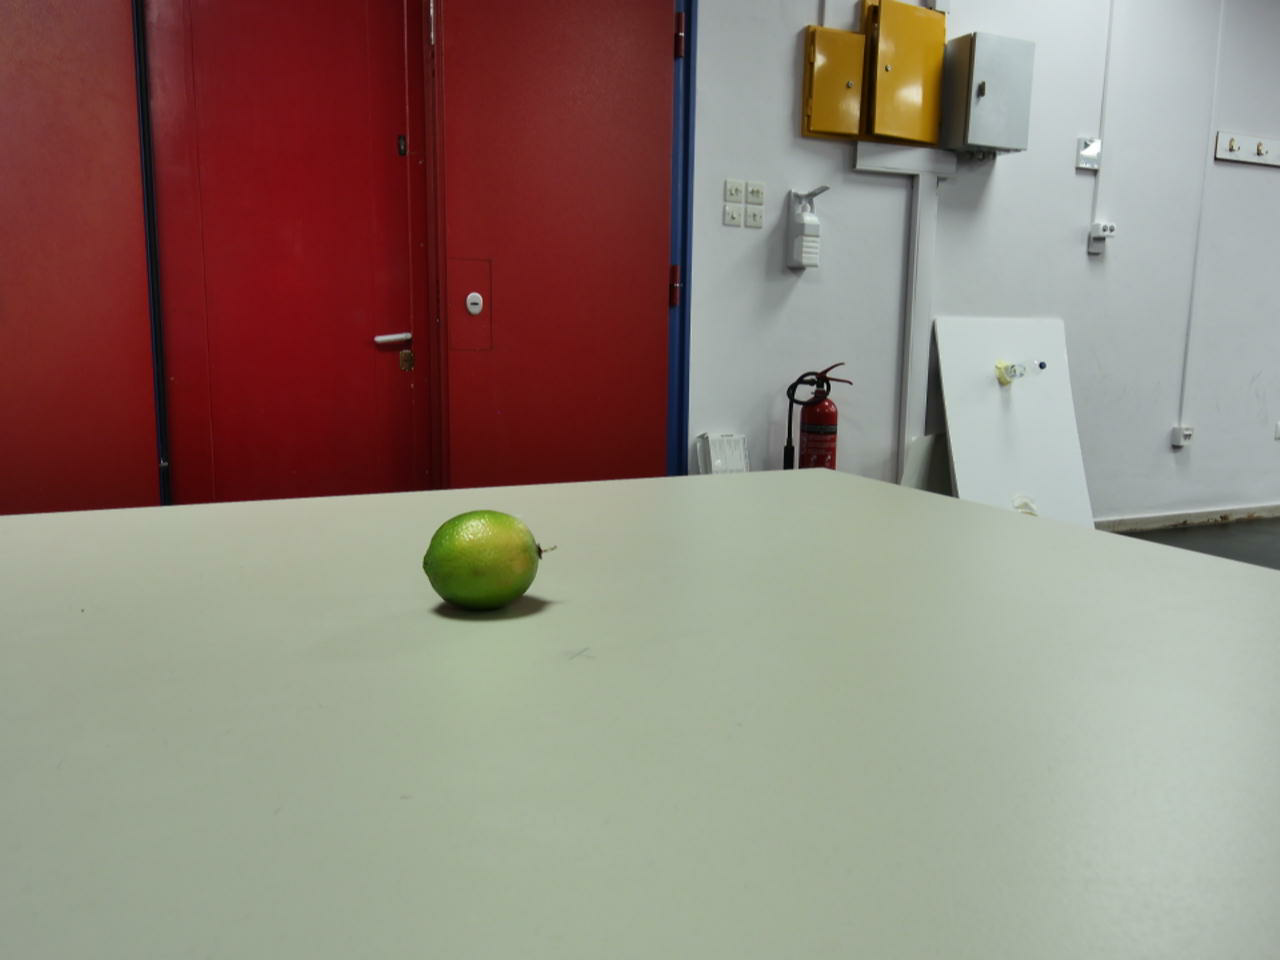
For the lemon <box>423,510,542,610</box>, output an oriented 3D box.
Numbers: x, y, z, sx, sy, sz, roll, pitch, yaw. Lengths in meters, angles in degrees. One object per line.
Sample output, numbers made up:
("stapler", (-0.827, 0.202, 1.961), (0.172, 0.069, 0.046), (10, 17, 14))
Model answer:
("lemon", (-0.082, 0.041, 0.517), (0.055, 0.050, 0.054), (2, 7, 25))
